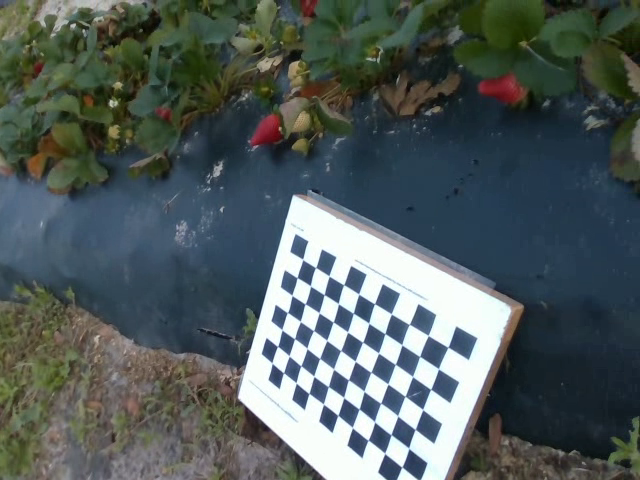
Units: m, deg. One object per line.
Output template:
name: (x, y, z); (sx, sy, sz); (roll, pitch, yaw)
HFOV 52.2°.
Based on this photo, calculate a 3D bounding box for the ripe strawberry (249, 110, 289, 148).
ripe strawberry: (-0.071, -0.143, 0.843); (0.050, 0.034, 0.059); (15, 53, 45)
